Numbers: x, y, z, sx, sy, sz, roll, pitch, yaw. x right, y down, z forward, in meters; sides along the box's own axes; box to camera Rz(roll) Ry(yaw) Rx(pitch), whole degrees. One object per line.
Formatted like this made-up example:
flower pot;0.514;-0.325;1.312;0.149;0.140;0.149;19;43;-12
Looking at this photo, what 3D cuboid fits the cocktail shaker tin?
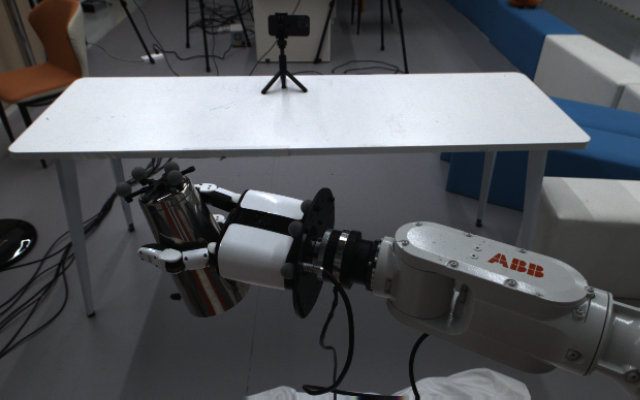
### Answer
cocktail shaker tin;-0.163;0.058;0.622;0.093;0.170;0.093;-15;29;8
